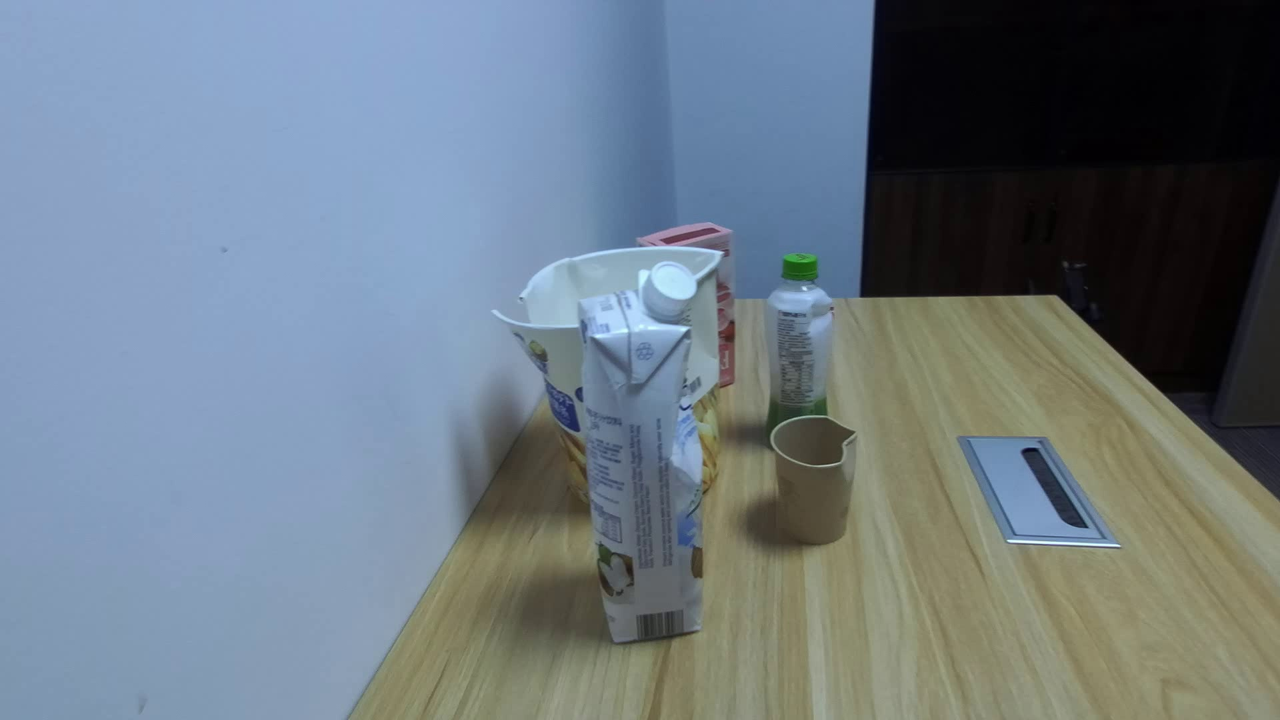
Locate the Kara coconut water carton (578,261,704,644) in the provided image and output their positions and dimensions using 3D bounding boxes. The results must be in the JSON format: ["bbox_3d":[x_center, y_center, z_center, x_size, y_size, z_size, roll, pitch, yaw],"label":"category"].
[{"bbox_3d":[0.003,0.064,0.461,0.078,0.256,0.083,0,25,7],"label":"Kara coconut water carton"}]

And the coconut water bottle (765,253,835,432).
[{"bbox_3d":[0.152,-0.006,0.666,0.069,0.186,0.069,-1,21,1],"label":"coconut water bottle"}]

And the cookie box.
[{"bbox_3d":[0.053,-0.053,0.795,0.105,0.188,0.048,-15,26,-20],"label":"cookie box"}]

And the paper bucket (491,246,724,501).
[{"bbox_3d":[-0.008,0.016,0.637,0.145,0.197,0.203,2,26,21],"label":"paper bucket"}]

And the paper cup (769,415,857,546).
[{"bbox_3d":[0.138,0.099,0.564,0.069,0.081,0.073,-18,27,-25],"label":"paper cup"}]
